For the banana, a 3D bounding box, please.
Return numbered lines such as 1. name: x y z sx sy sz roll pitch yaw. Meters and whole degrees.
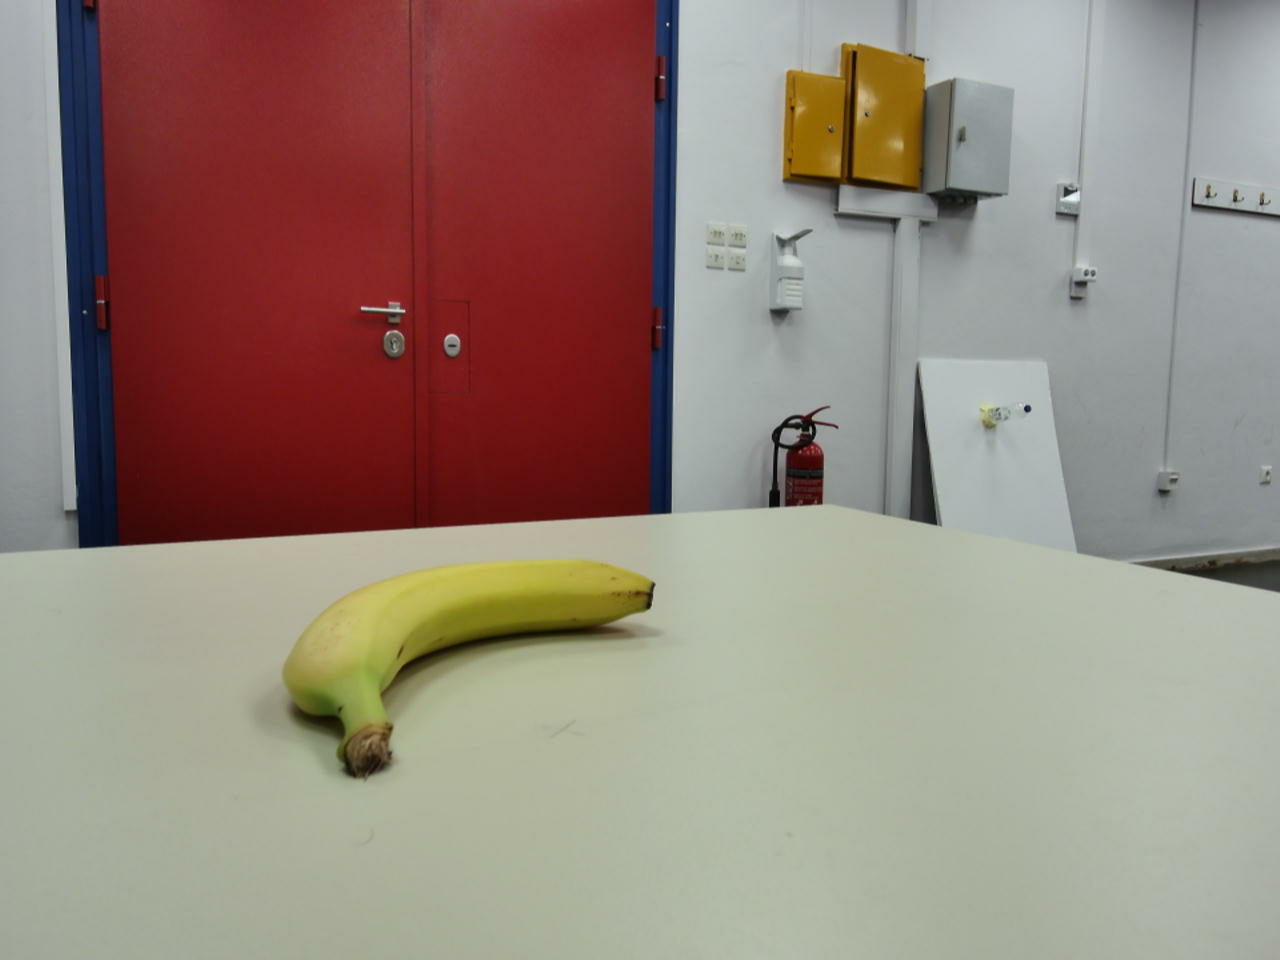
1. banana: -0.075 0.060 0.399 0.094 0.041 0.196 2 5 28
